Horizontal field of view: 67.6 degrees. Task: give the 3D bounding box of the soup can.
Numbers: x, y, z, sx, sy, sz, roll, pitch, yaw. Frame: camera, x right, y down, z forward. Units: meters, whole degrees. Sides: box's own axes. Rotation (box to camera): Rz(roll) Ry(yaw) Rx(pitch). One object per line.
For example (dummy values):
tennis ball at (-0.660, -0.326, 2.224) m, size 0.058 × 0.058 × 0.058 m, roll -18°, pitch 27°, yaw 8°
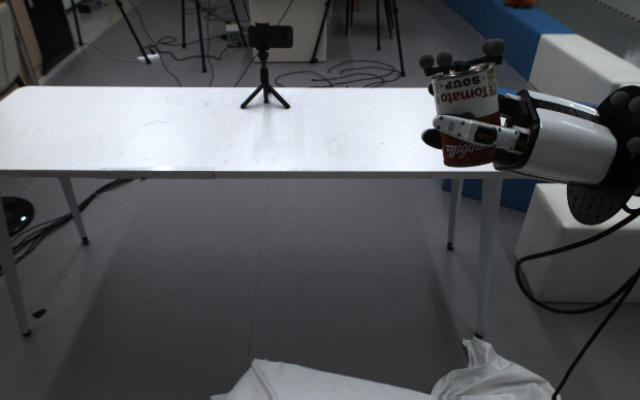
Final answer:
soup can at (0.167, -0.096, 0.544) m, size 0.067 × 0.101 × 0.067 m, roll -13°, pitch 17°, yaw 4°
